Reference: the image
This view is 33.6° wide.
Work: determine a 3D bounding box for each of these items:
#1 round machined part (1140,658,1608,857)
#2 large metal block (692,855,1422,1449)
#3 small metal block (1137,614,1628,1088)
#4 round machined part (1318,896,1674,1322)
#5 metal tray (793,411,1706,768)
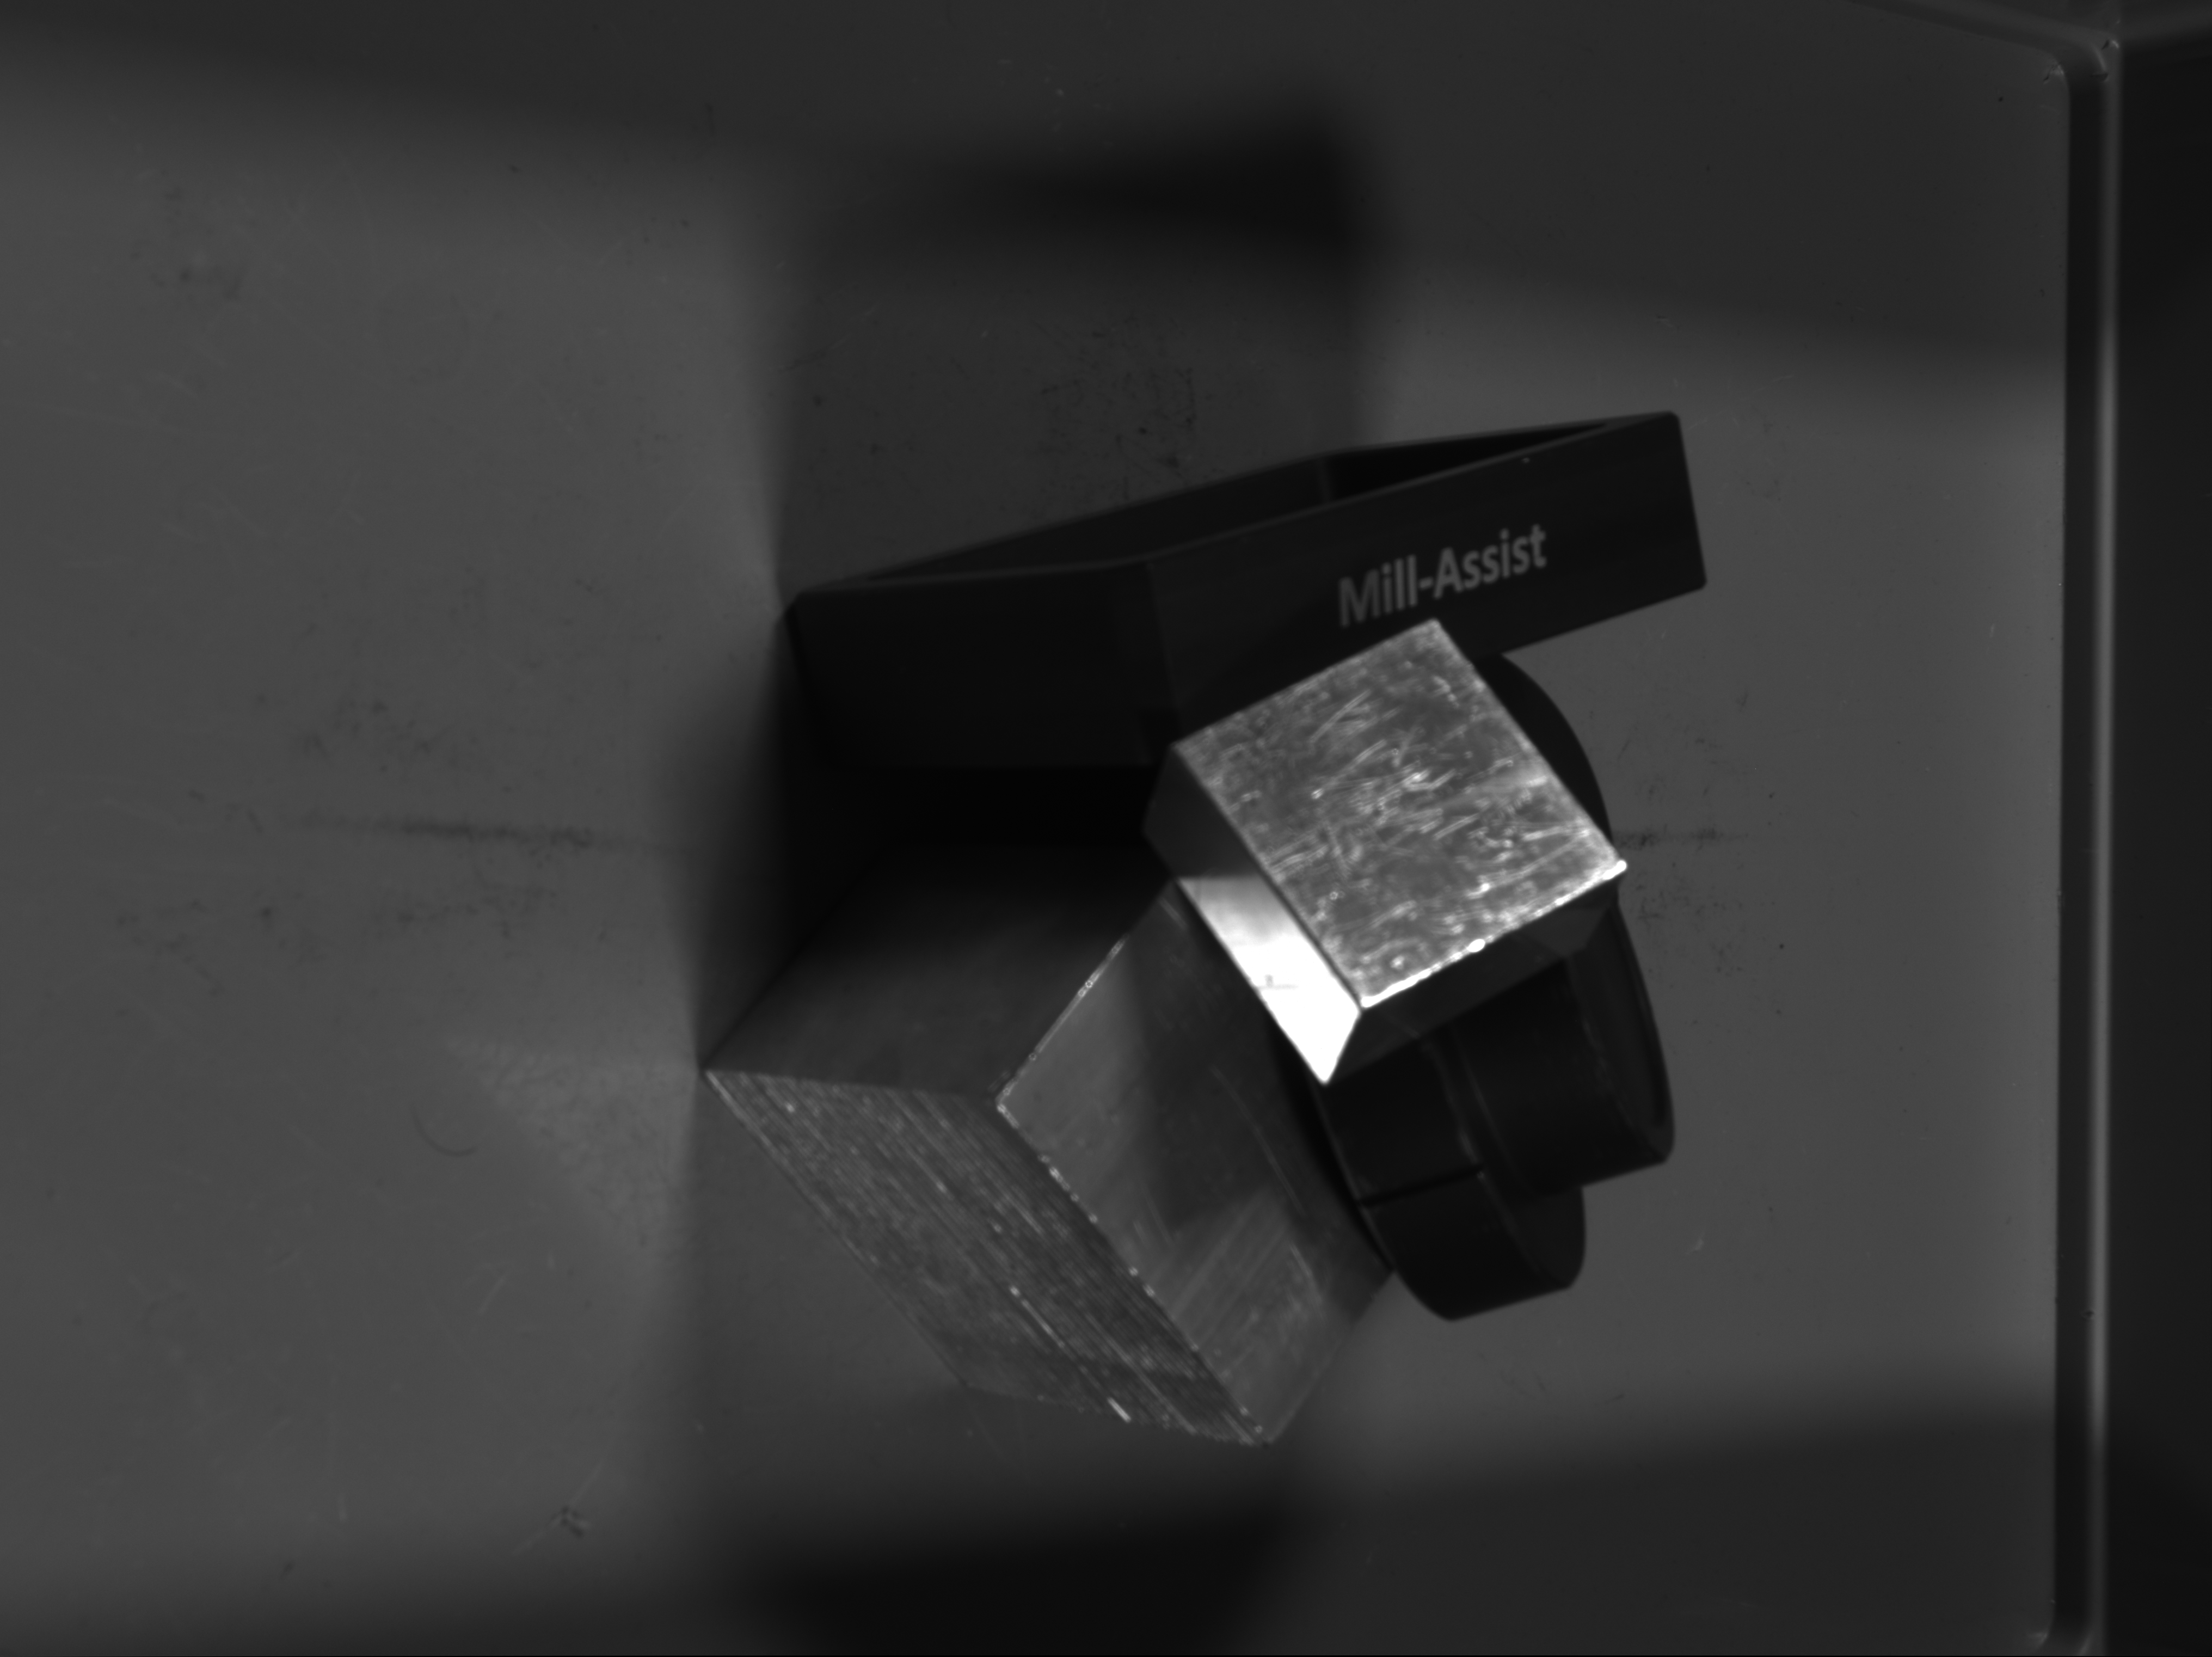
[{"bbox_3d":[0.044,0.014,0.663,0.098,0.042,0.098,0,90,-40],"label":"round machined part"},{"bbox_3d":[-0.007,0.051,0.595,0.050,0.080,0.080,-51,120,-28],"label":"large metal block"},{"bbox_3d":[0.041,0.003,0.550,0.050,0.025,0.050,-26,68,-24],"label":"small metal block"},{"bbox_3d":[0.063,0.028,0.602,0.098,0.042,0.098,-18,90,-75],"label":"round machined part"},{"bbox_3d":[0.025,-0.041,0.614,0.130,0.090,0.030,-19,102,-38],"label":"metal tray"}]
